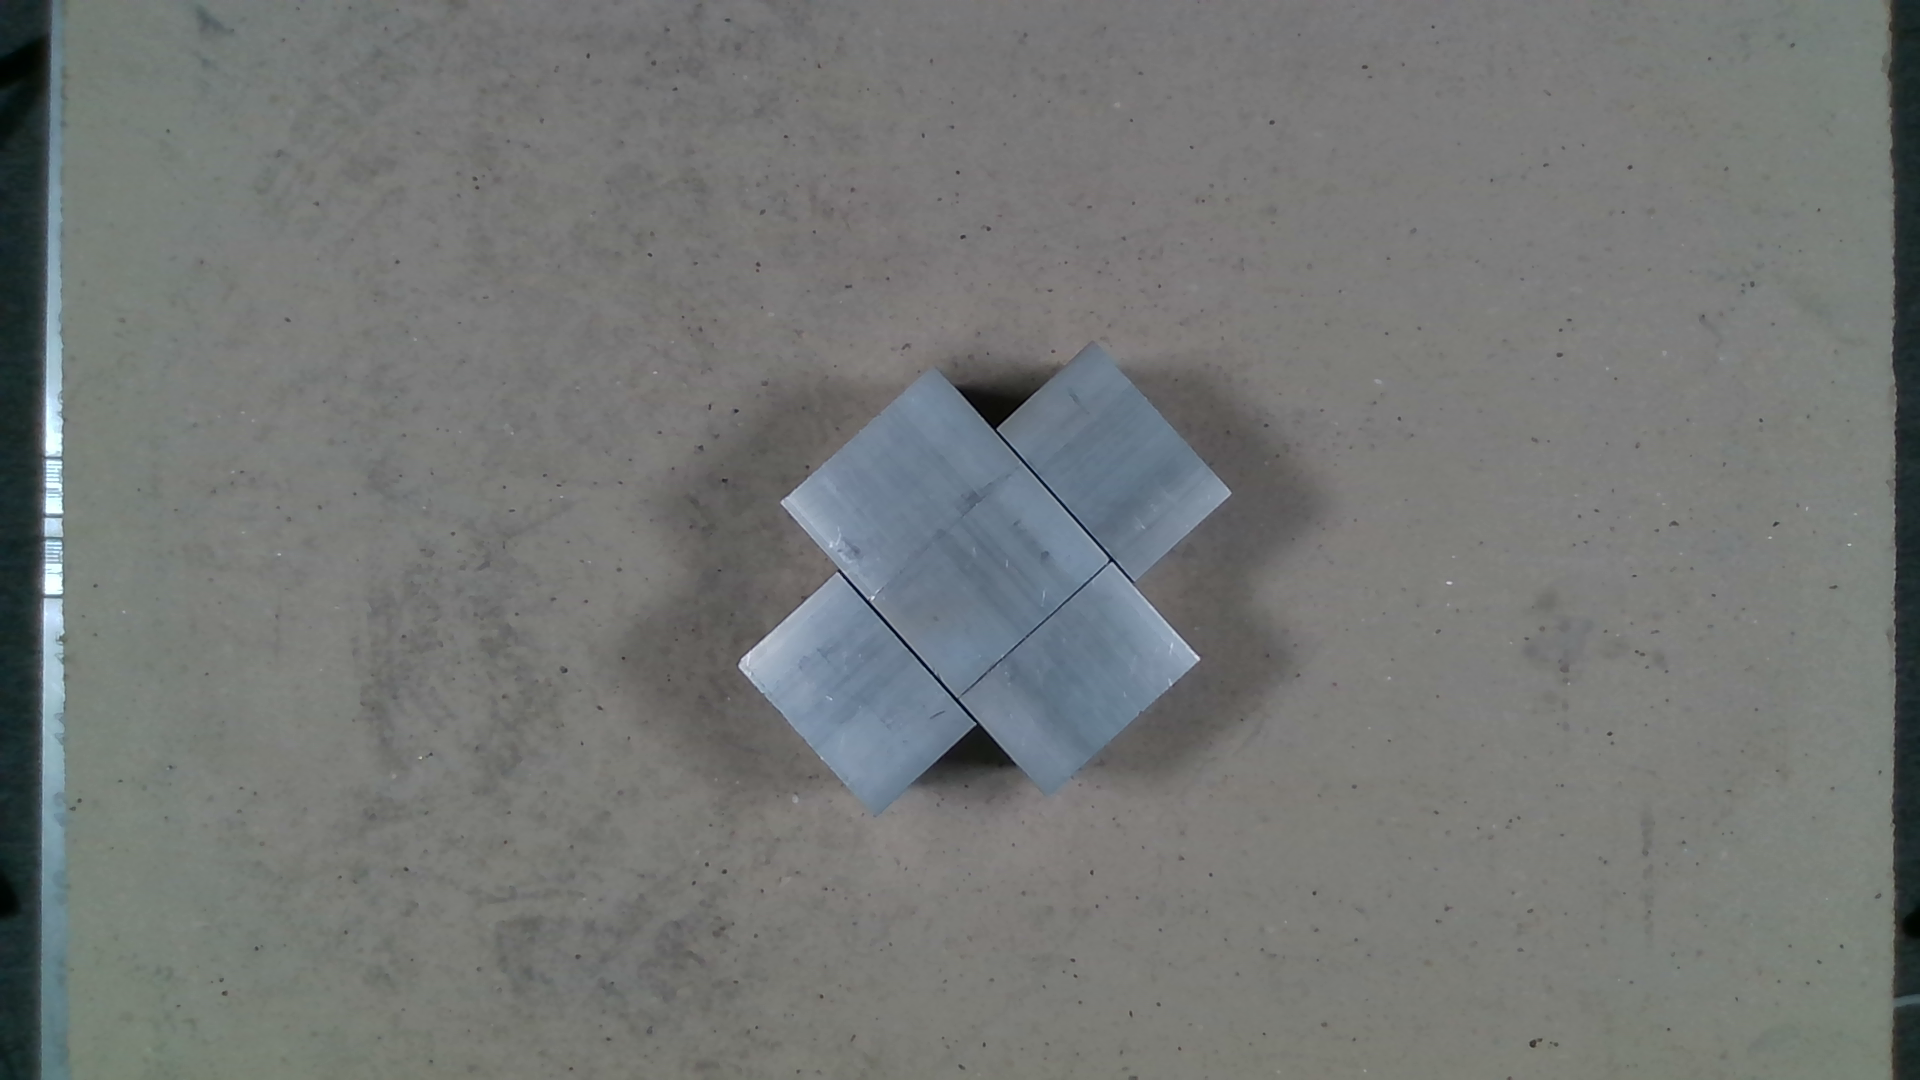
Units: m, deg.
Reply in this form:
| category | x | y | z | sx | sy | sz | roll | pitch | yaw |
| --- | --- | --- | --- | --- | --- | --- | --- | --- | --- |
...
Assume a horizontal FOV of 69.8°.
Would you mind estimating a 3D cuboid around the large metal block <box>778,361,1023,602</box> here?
| category | x | y | z | sx | sy | sz | roll | pitch | yaw |
| --- | --- | --- | --- | --- | --- | --- | --- | --- | --- |
| large metal block | -0.022 | -0.022 | 0.560 | 0.080 | 0.080 | 0.050 | -42 | 90 | 0 |

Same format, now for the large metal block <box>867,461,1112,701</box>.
| category | x | y | z | sx | sy | sz | roll | pitch | yaw |
| --- | --- | --- | --- | --- | --- | --- | --- | --- | --- |
| large metal block | 0.011 | 0.015 | 0.560 | 0.080 | 0.080 | 0.050 | -42 | 90 | 0 |

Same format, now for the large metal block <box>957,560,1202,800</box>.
| category | x | y | z | sx | sy | sz | roll | pitch | yaw |
| --- | --- | --- | --- | --- | --- | --- | --- | --- | --- |
| large metal block | 0.045 | 0.053 | 0.561 | 0.080 | 0.080 | 0.050 | -42 | 90 | 0 |

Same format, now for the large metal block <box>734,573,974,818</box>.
| category | x | y | z | sx | sy | sz | roll | pitch | yaw |
| --- | --- | --- | --- | --- | --- | --- | --- | --- | --- |
| large metal block | -0.040 | 0.059 | 0.561 | 0.050 | 0.080 | 0.080 | -42 | 90 | 0 |

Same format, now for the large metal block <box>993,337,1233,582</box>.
| category | x | y | z | sx | sy | sz | roll | pitch | yaw |
| --- | --- | --- | --- | --- | --- | --- | --- | --- | --- |
| large metal block | 0.058 | -0.030 | 0.560 | 0.050 | 0.080 | 0.080 | -42 | 90 | 0 |
